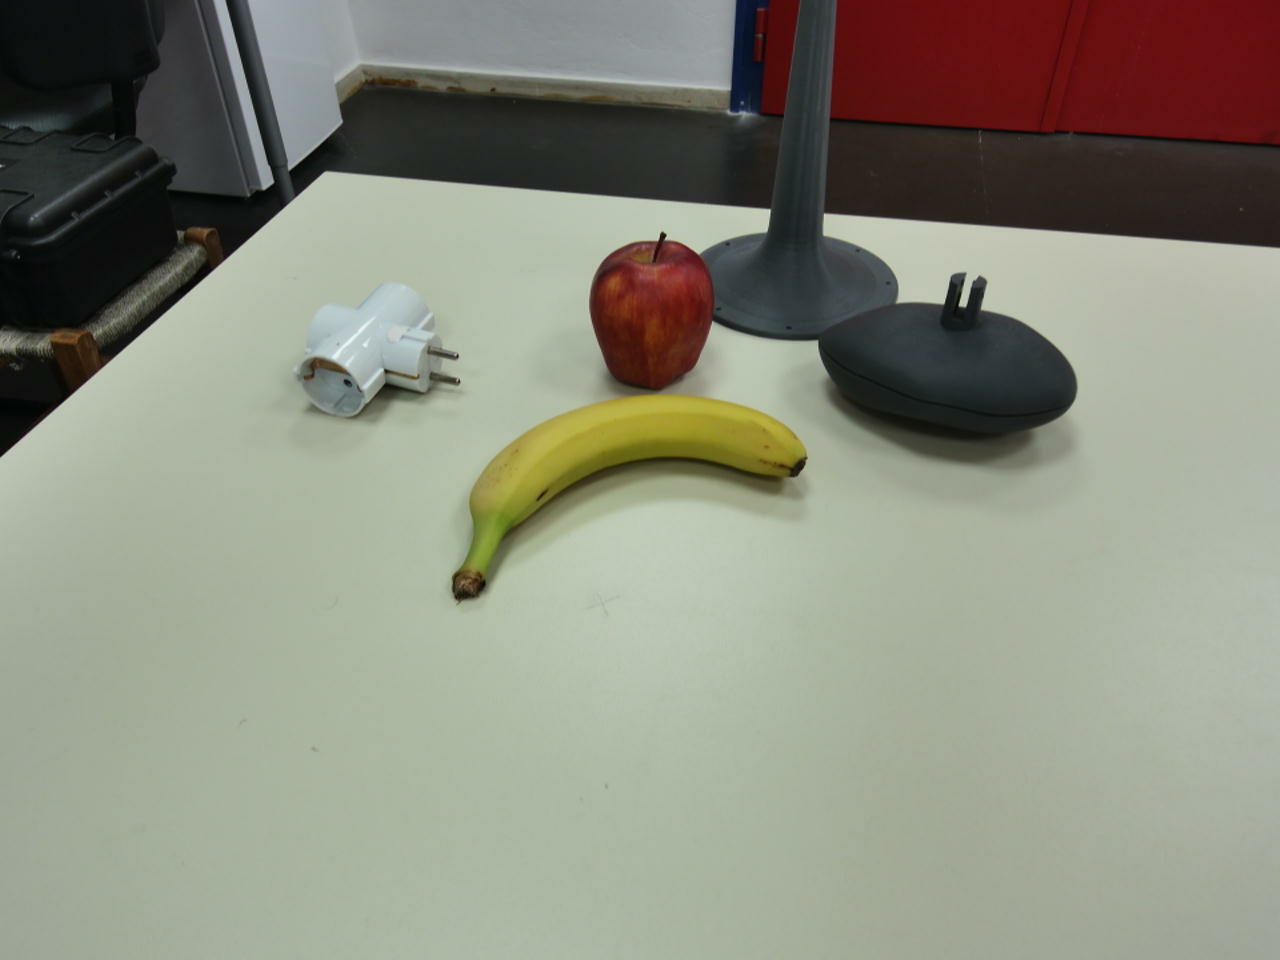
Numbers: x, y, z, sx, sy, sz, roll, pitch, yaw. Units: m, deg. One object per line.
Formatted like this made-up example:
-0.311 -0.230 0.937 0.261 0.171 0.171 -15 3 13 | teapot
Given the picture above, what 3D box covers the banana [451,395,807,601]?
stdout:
-0.015 -0.007 0.530 0.196 0.041 0.094 -15 41 -18 | banana
